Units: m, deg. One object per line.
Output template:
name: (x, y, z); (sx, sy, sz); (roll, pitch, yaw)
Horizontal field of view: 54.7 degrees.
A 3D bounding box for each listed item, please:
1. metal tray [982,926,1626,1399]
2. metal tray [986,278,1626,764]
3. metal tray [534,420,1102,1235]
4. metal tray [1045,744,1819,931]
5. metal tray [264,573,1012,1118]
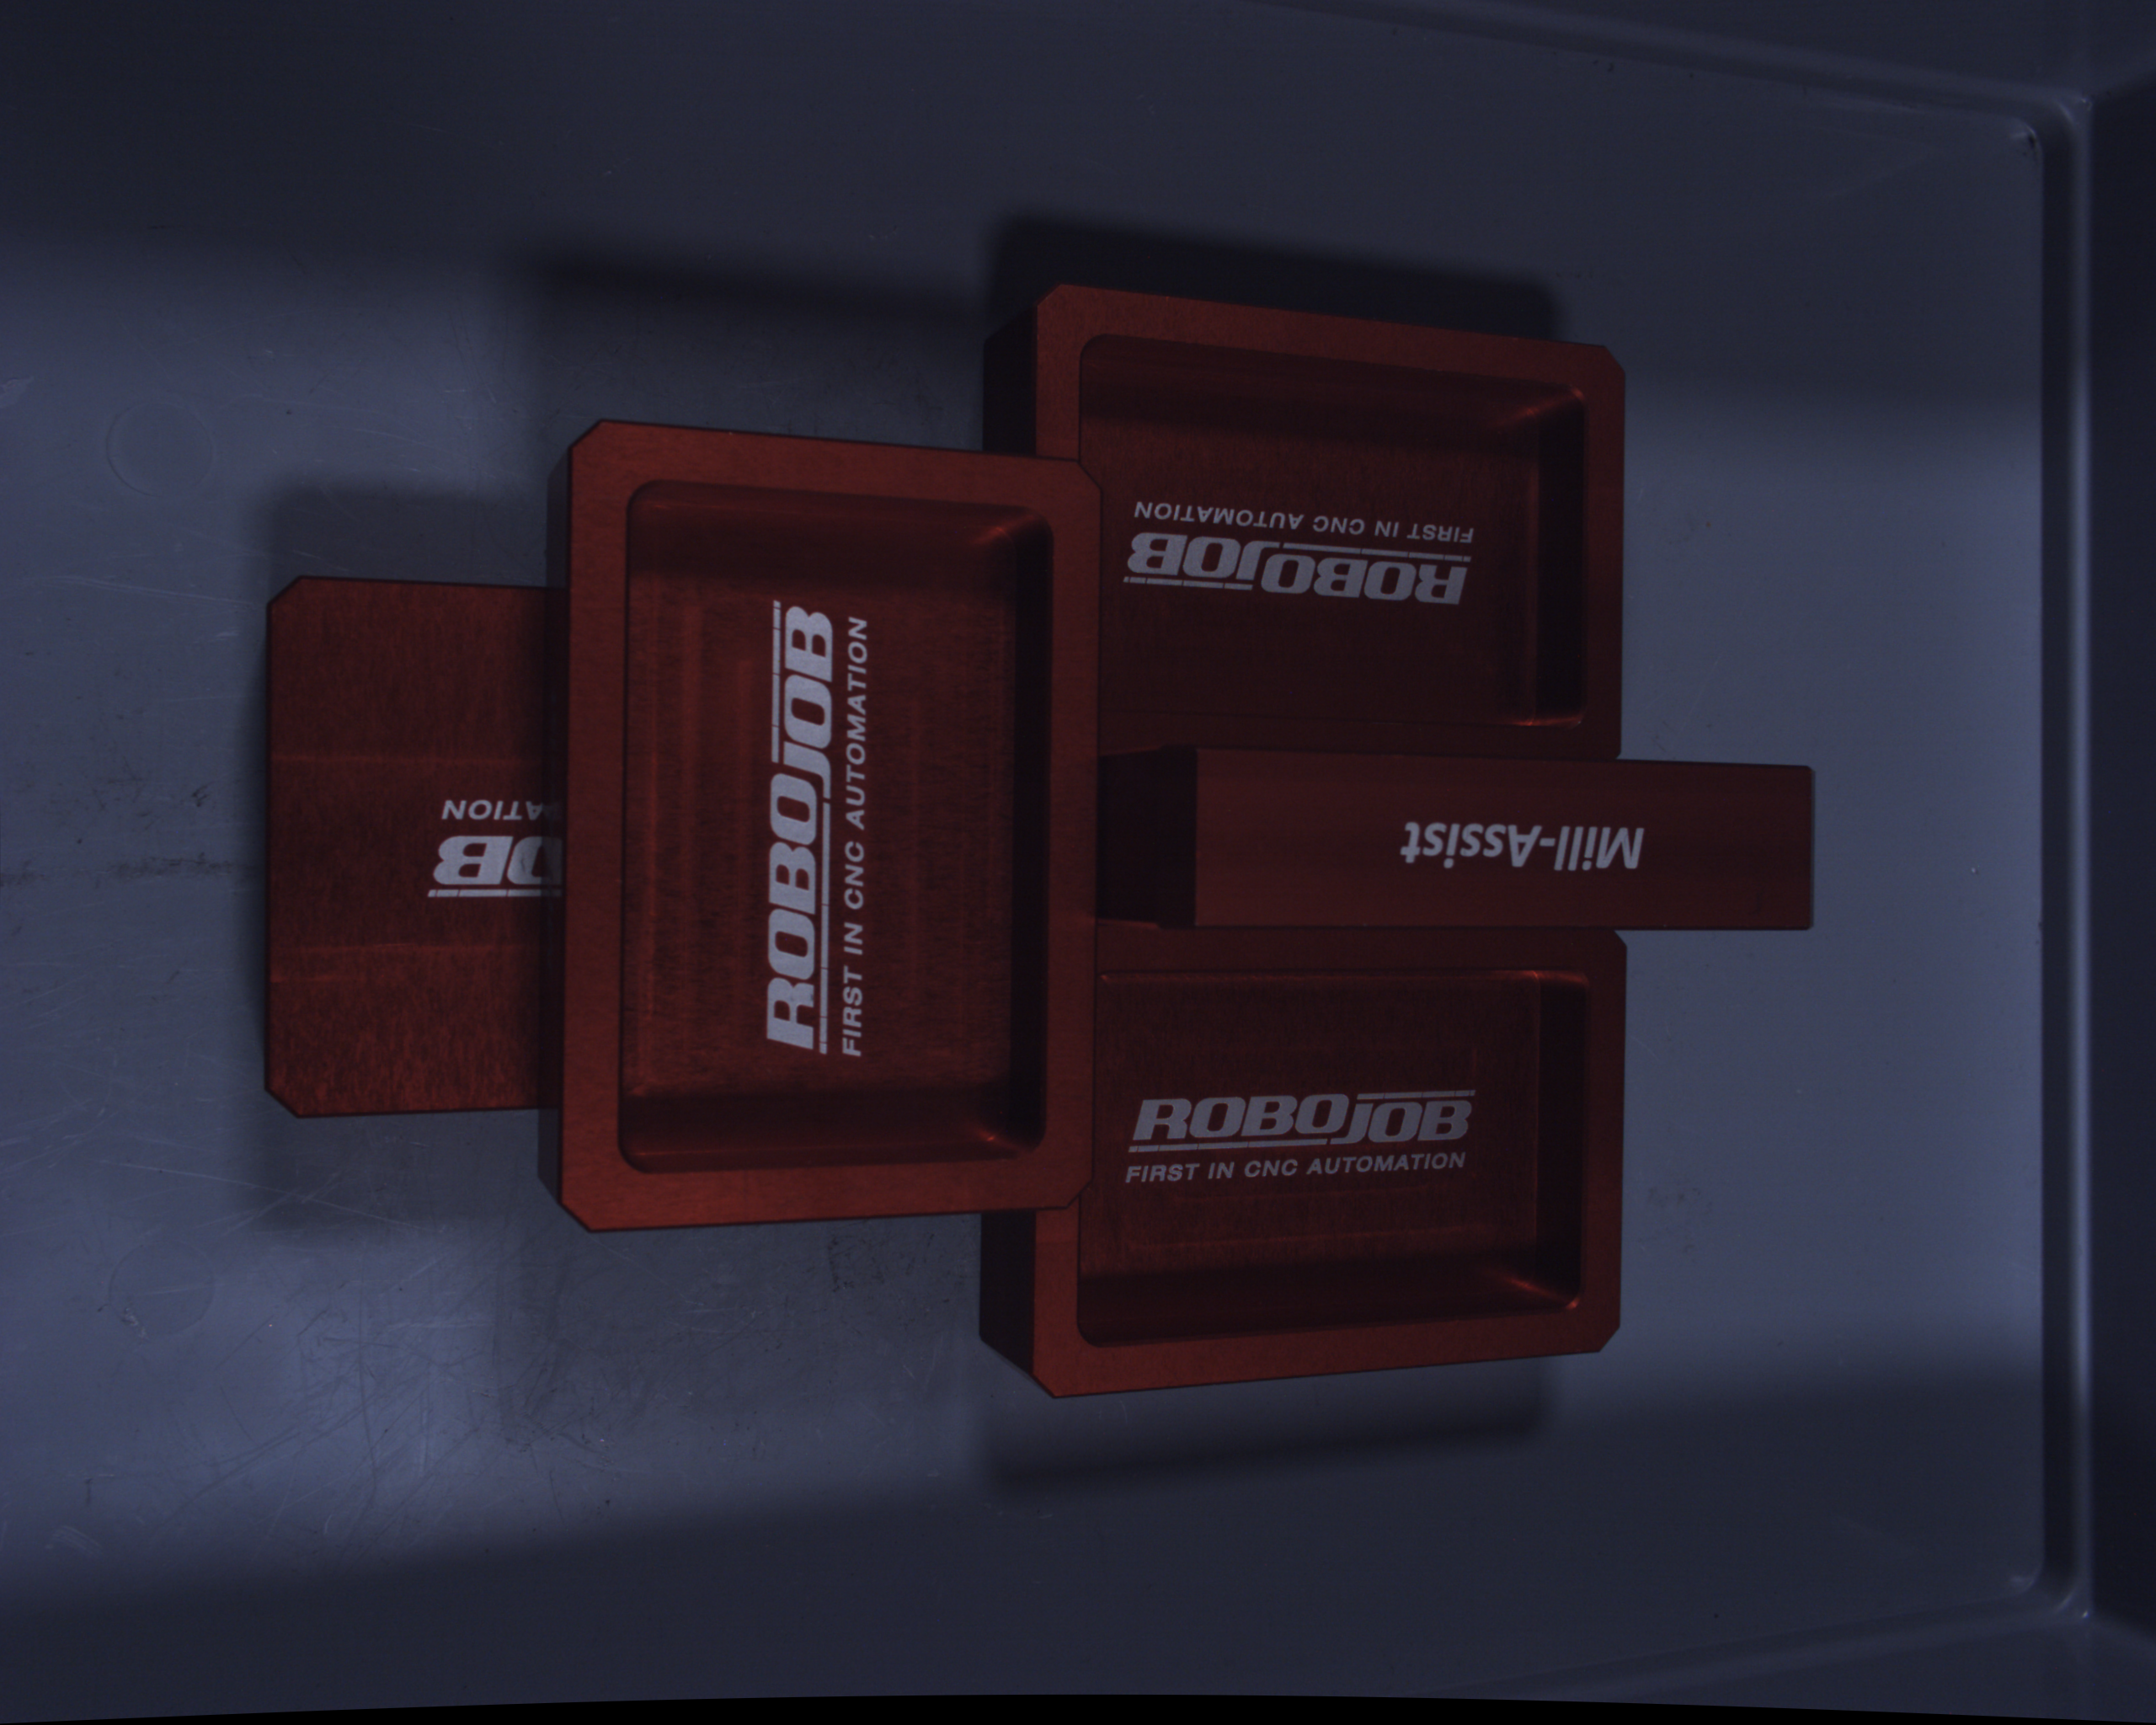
metal tray: (0.048, 0.056, 0.425); (0.131, 0.030, 0.089); (1, 90, -21)
metal tray: (0.048, -0.064, 0.425); (0.131, 0.030, 0.089); (1, 90, -21)
metal tray: (-0.044, -0.005, 0.358); (0.091, 0.030, 0.129); (1, 90, -21)
metal tray: (0.061, -0.004, 0.397); (0.131, 0.090, 0.030); (1, 90, -20)
metal tray: (-0.076, -0.003, 0.377); (0.131, 0.030, 0.089); (0, 90, -21)
